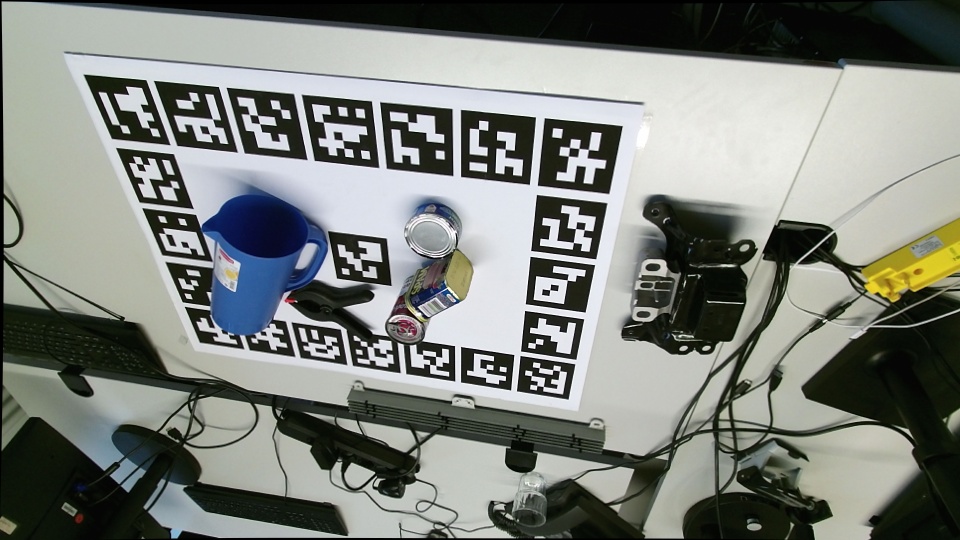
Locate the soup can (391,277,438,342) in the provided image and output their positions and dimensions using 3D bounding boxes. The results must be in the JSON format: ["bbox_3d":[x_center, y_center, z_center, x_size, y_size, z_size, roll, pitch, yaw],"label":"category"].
[{"bbox_3d":[-0.105,0.064,0.911,0.068,0.101,0.068,4,124,6],"label":"soup can"}]

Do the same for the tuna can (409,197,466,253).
[{"bbox_3d":[-0.066,-0.071,0.845,0.086,0.033,0.086,5,124,8],"label":"tuna can"}]

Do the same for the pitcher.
[{"bbox_3d":[-0.373,-0.001,0.894,0.190,0.132,0.243,10,137,-23],"label":"pitcher"}]

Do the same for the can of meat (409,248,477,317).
[{"bbox_3d":[-0.057,0.018,0.862,0.084,0.101,0.058,-26,115,23],"label":"can of meat"}]

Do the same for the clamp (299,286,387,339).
[{"bbox_3d":[-0.255,0.068,0.996,0.165,0.036,0.122,11,131,8],"label":"clamp"}]
